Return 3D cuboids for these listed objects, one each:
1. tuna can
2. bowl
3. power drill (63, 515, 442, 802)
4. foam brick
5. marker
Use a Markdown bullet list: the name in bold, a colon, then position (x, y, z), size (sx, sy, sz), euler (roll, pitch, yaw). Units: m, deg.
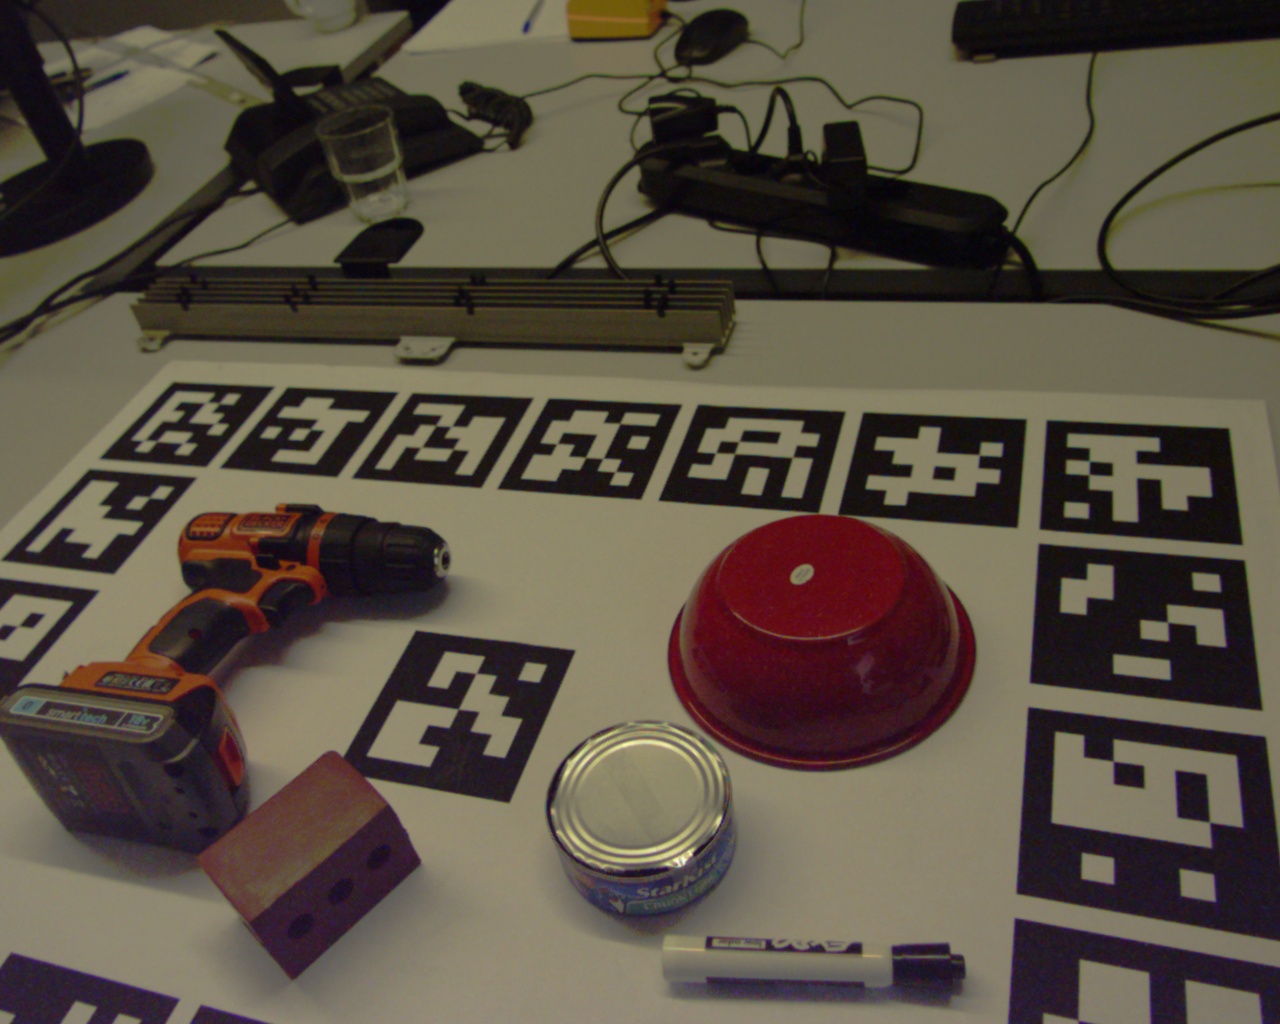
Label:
- **tuna can**: position (0.005, 0.132, 0.560), size (0.086, 0.033, 0.086), euler (-6, 42, 5)
- **bowl**: position (0.087, 0.049, 0.633), size (0.162, 0.055, 0.162), euler (-9, 34, 5)
- **power drill**: position (-0.230, 0.077, 0.675), size (0.186, 0.057, 0.186), euler (5, 41, 15)
- **foam brick**: position (-0.149, 0.163, 0.563), size (0.052, 0.052, 0.077), euler (25, 54, 33)
- **marker**: position (0.074, 0.178, 0.500), size (0.122, 0.019, 0.020), euler (-3, 43, 11)
